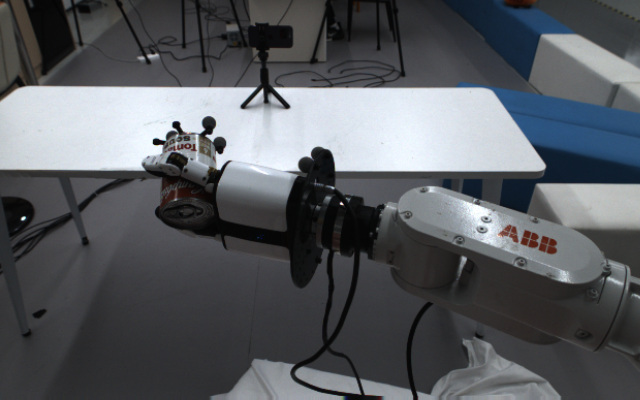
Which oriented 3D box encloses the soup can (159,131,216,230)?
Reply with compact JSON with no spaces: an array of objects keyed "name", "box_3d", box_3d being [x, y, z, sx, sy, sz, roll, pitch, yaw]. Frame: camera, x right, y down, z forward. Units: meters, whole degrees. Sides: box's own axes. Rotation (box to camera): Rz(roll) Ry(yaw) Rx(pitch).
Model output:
[{"name":"soup can","box_3d":[-0.159,-0.023,0.591,0.067,0.067,0.101,-5,57,-10]}]
